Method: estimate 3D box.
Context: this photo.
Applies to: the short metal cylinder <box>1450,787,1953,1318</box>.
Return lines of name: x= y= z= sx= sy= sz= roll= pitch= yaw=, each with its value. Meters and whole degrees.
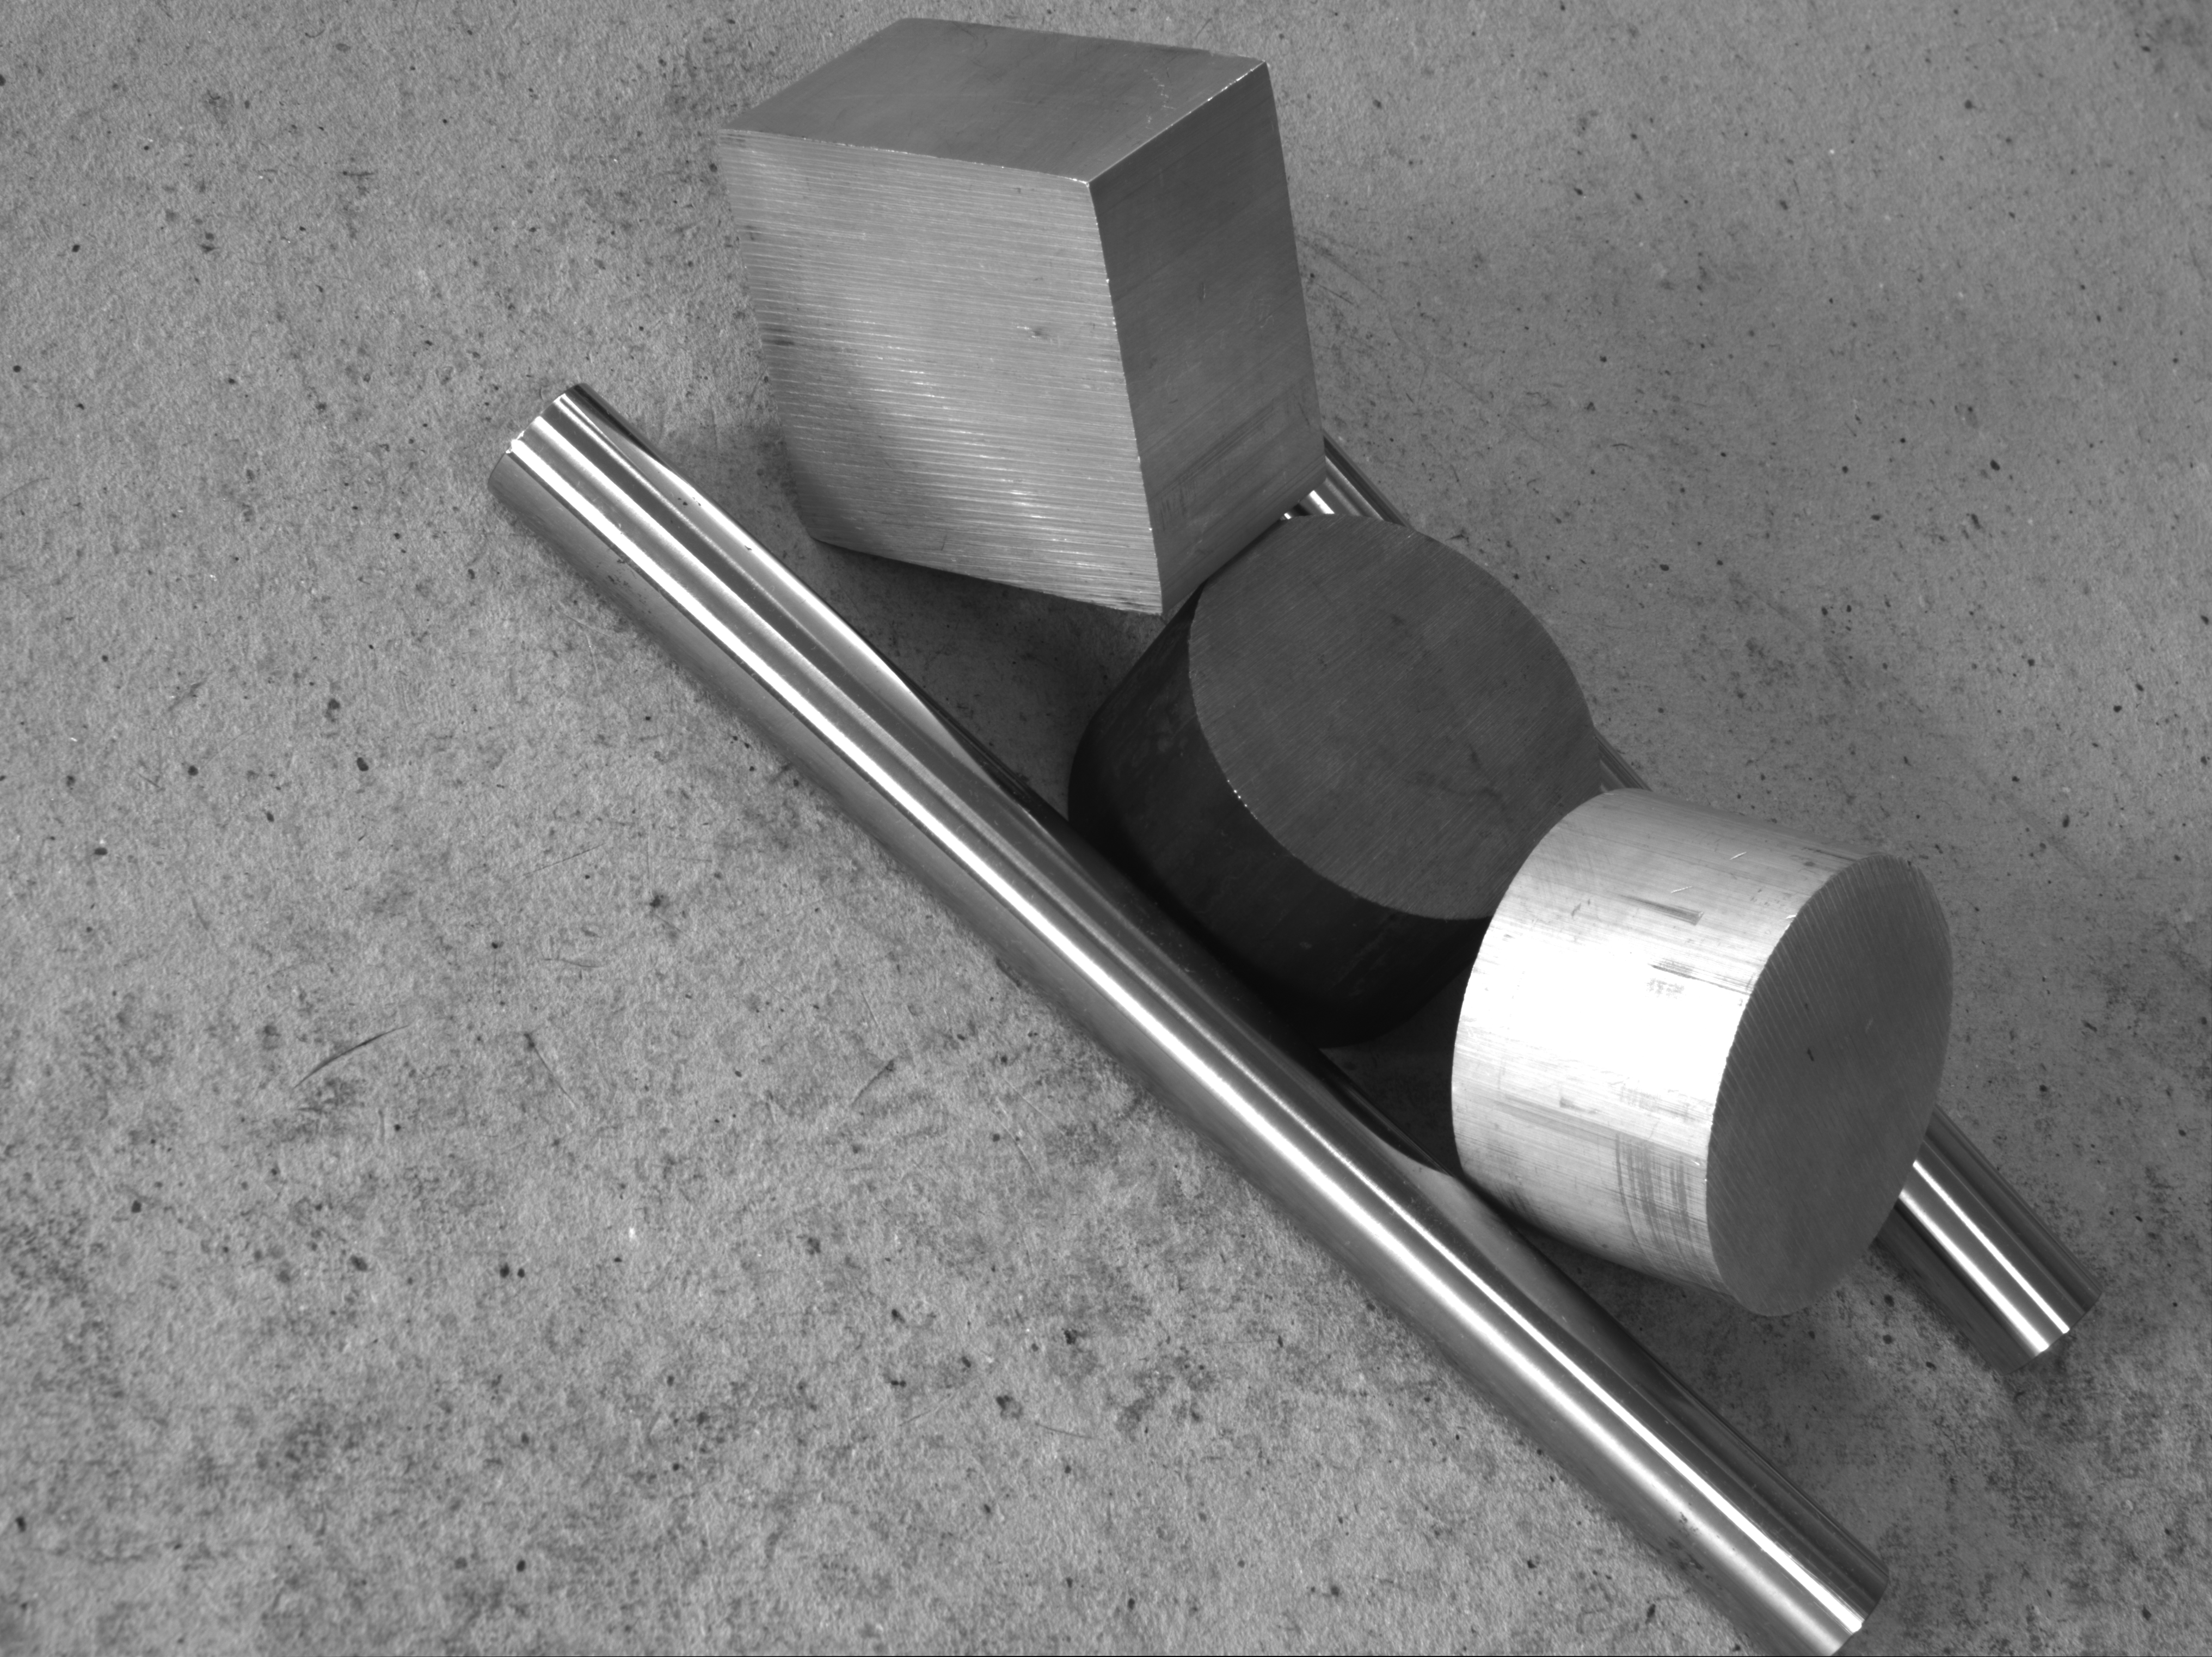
short metal cylinder: x=0.103 y=0.038 z=0.629 sx=0.050 sy=0.080 sz=0.080 roll=17 pitch=39 yaw=38

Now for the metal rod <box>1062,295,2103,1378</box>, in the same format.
metal rod: x=0.075 y=-0.019 z=0.691 sx=0.300 sy=0.025 sz=0.025 roll=49 pitch=51 yaw=6

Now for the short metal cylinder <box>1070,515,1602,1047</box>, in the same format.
short metal cylinder: x=0.040 y=-0.008 z=0.650 sx=0.080 sy=0.050 sz=0.080 roll=13 pitch=56 yaw=-21

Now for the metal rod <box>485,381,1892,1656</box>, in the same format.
metal rod: x=0.014 y=0.034 z=0.626 sx=0.300 sy=0.025 sz=0.025 roll=42 pitch=51 yaw=1

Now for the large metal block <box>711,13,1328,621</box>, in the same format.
large metal block: x=-0.014 y=-0.089 z=0.632 sx=0.080 sy=0.080 sz=0.050 roll=15 pitch=41 yaw=34
